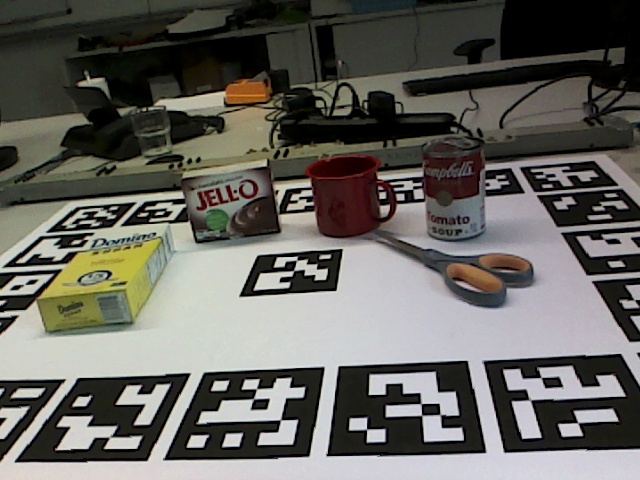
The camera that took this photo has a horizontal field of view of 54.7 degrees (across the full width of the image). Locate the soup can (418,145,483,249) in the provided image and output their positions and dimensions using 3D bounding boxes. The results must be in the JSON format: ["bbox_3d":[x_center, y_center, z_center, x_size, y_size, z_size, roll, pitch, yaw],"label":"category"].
[{"bbox_3d":[0.151,-0.050,0.707,0.068,0.102,0.068,-8,25,3],"label":"soup can"}]

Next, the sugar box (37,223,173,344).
[{"bbox_3d":[-0.234,0.043,0.699,0.093,0.045,0.177,-8,28,7],"label":"sugar box"}]

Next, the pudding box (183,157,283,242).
[{"bbox_3d":[-0.108,-0.052,0.779,0.114,0.089,0.039,-9,33,0],"label":"pudding box"}]

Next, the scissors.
[{"bbox_3d":[0.124,0.027,0.641,0.087,0.016,0.204,-34,36,-23],"label":"scissors"}]

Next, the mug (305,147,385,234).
[{"bbox_3d":[0.041,-0.057,0.761,0.093,0.081,0.118,-24,29,-22],"label":"mug"}]
